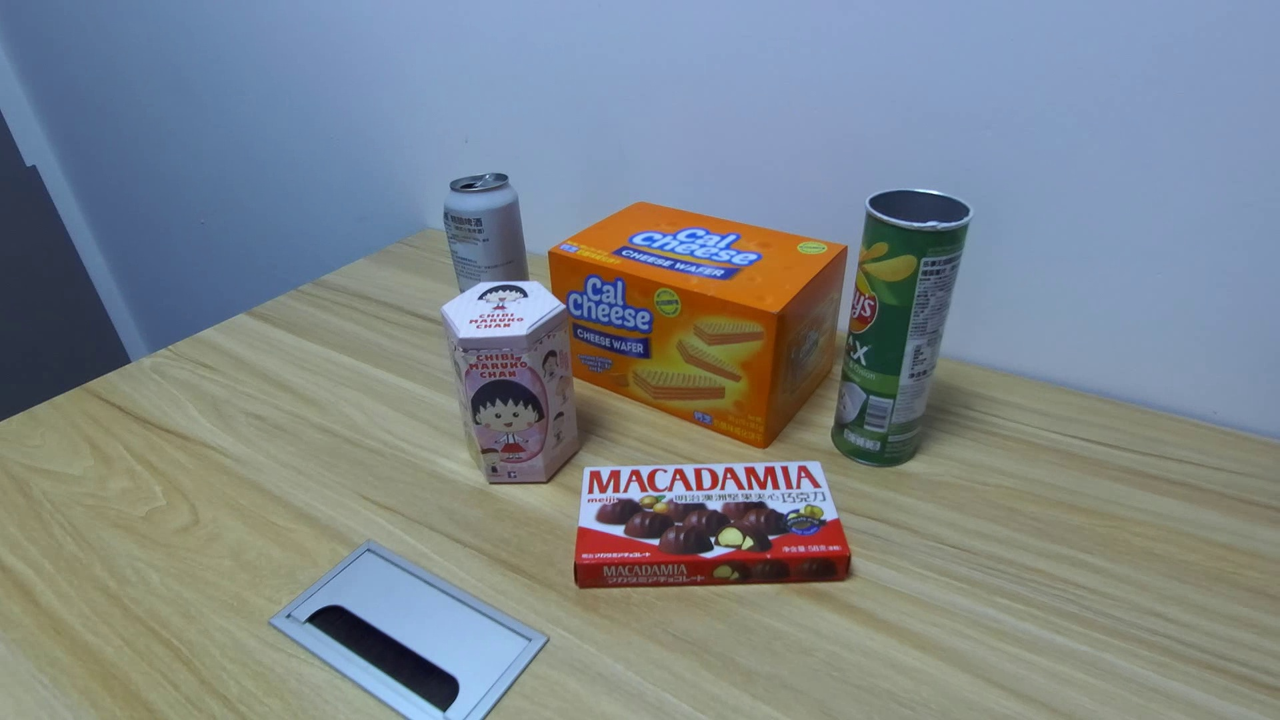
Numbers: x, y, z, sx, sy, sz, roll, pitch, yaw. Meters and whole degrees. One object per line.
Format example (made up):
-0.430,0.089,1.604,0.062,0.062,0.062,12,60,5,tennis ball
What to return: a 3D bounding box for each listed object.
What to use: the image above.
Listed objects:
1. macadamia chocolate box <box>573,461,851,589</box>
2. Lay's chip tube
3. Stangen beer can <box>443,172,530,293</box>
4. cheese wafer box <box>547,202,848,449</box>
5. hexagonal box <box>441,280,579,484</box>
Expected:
0.046,0.112,0.490,0.178,0.027,0.095,-1,31,2,macadamia chocolate box
0.189,-0.020,0.524,0.071,0.203,0.071,-2,33,2,Lay's chip tube
-0.143,-0.094,0.685,0.070,0.173,0.070,8,31,17,Stangen beer can
0.051,-0.043,0.637,0.221,0.129,0.148,19,38,28,cheese wafer box
-0.096,0.018,0.541,0.091,0.136,0.083,-1,32,1,hexagonal box
